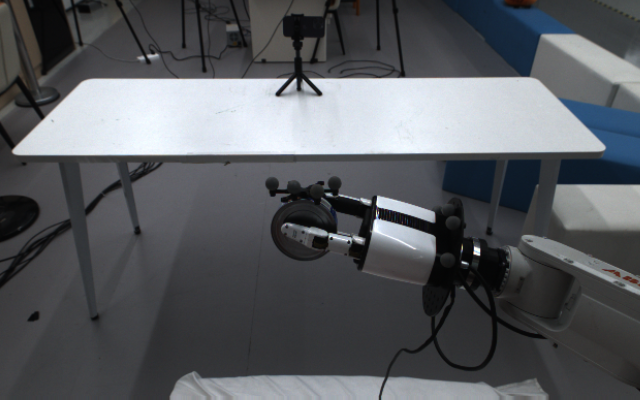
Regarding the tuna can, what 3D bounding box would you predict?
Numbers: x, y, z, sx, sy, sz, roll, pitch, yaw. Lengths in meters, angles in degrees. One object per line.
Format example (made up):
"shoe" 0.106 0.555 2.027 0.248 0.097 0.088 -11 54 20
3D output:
"tuna can" -0.017 0.039 0.629 0.085 0.085 0.034 4 18 3
